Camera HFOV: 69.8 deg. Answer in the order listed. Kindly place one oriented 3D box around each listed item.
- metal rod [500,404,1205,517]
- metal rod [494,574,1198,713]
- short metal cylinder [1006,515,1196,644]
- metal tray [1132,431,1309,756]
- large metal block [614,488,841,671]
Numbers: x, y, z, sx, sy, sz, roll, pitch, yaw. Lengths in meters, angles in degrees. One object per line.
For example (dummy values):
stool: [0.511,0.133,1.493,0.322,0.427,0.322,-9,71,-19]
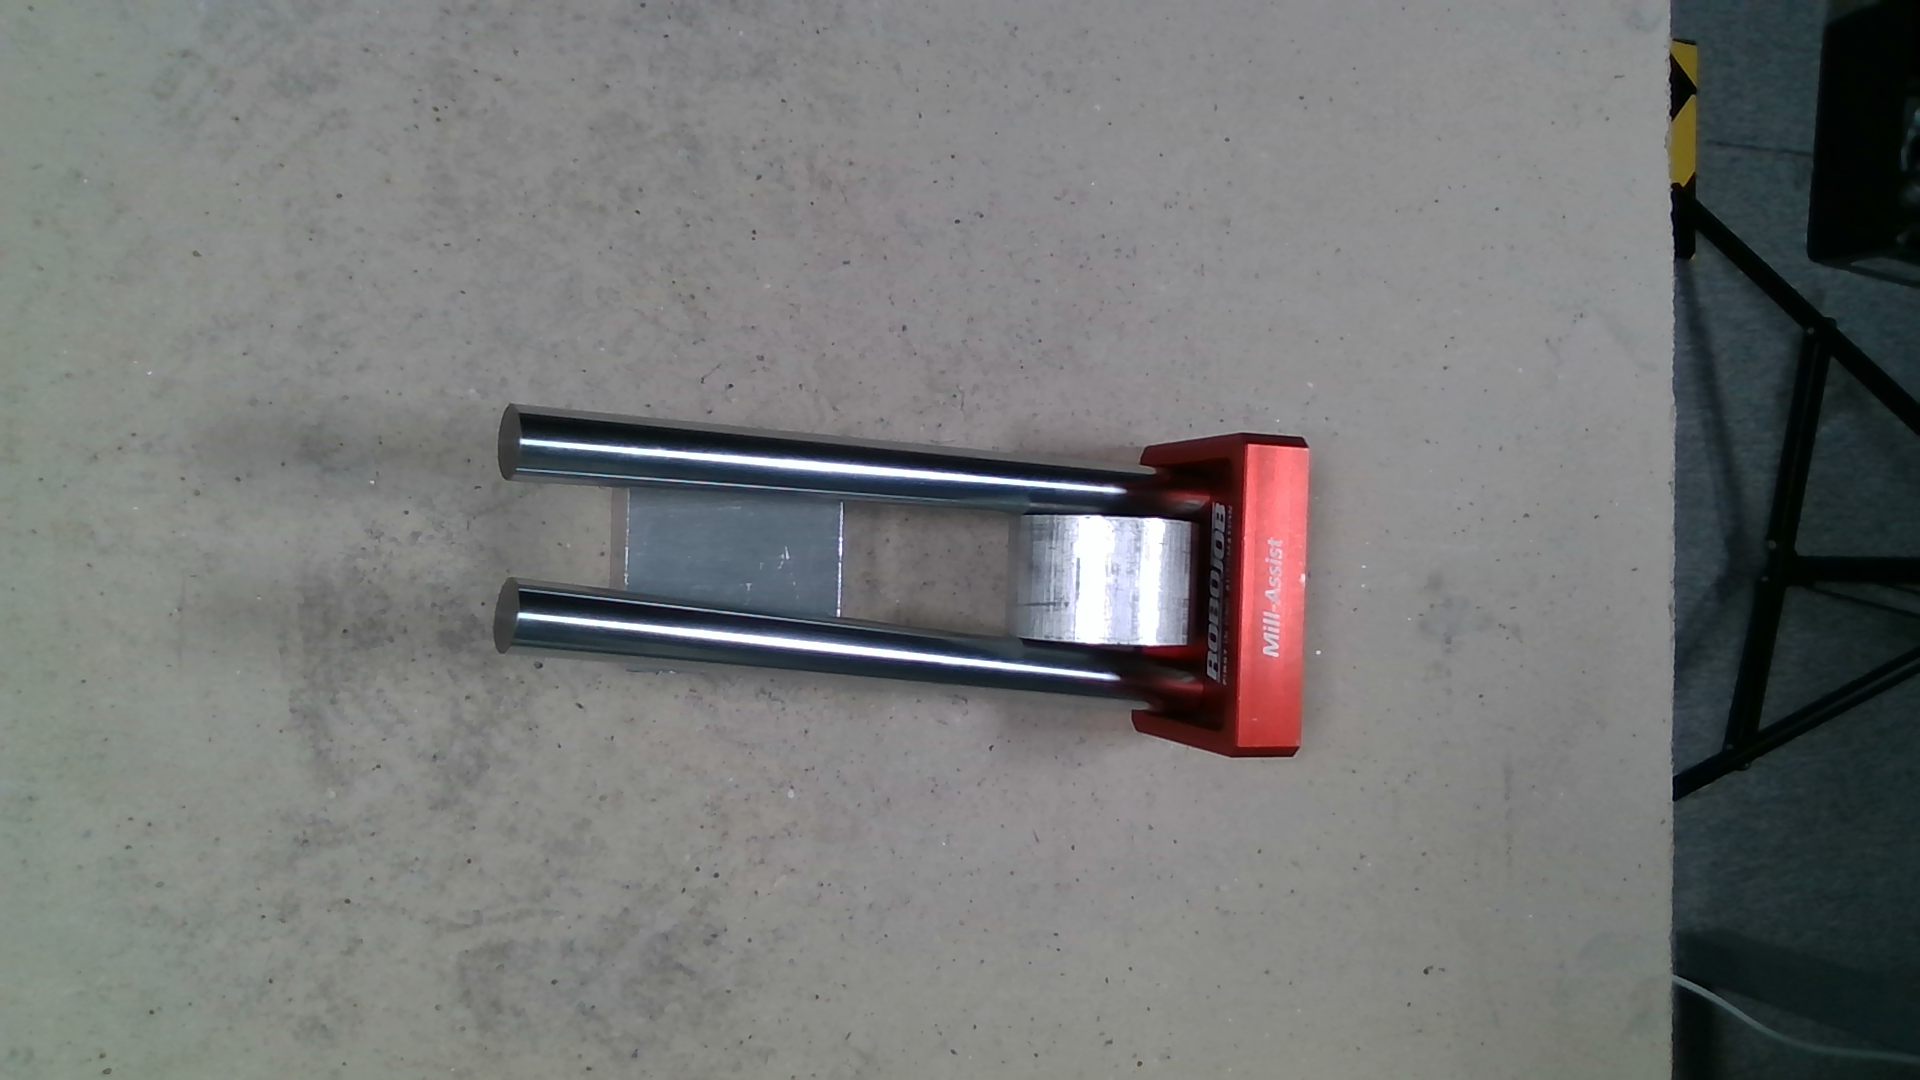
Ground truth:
metal rod: [-0.022,-0.026,0.529,0.300,0.025,0.025,2,89,-35]
metal rod: [-0.024,0.044,0.528,0.300,0.025,0.025,10,87,-35]
short metal cylinder: [0.059,0.016,0.579,0.080,0.080,0.050,2,90,-20]
metal tray: [0.110,0.022,0.592,0.030,0.090,0.130,2,89,-20]
large metal block: [-0.092,0.009,0.536,0.080,0.050,0.080,2,90,-20]
